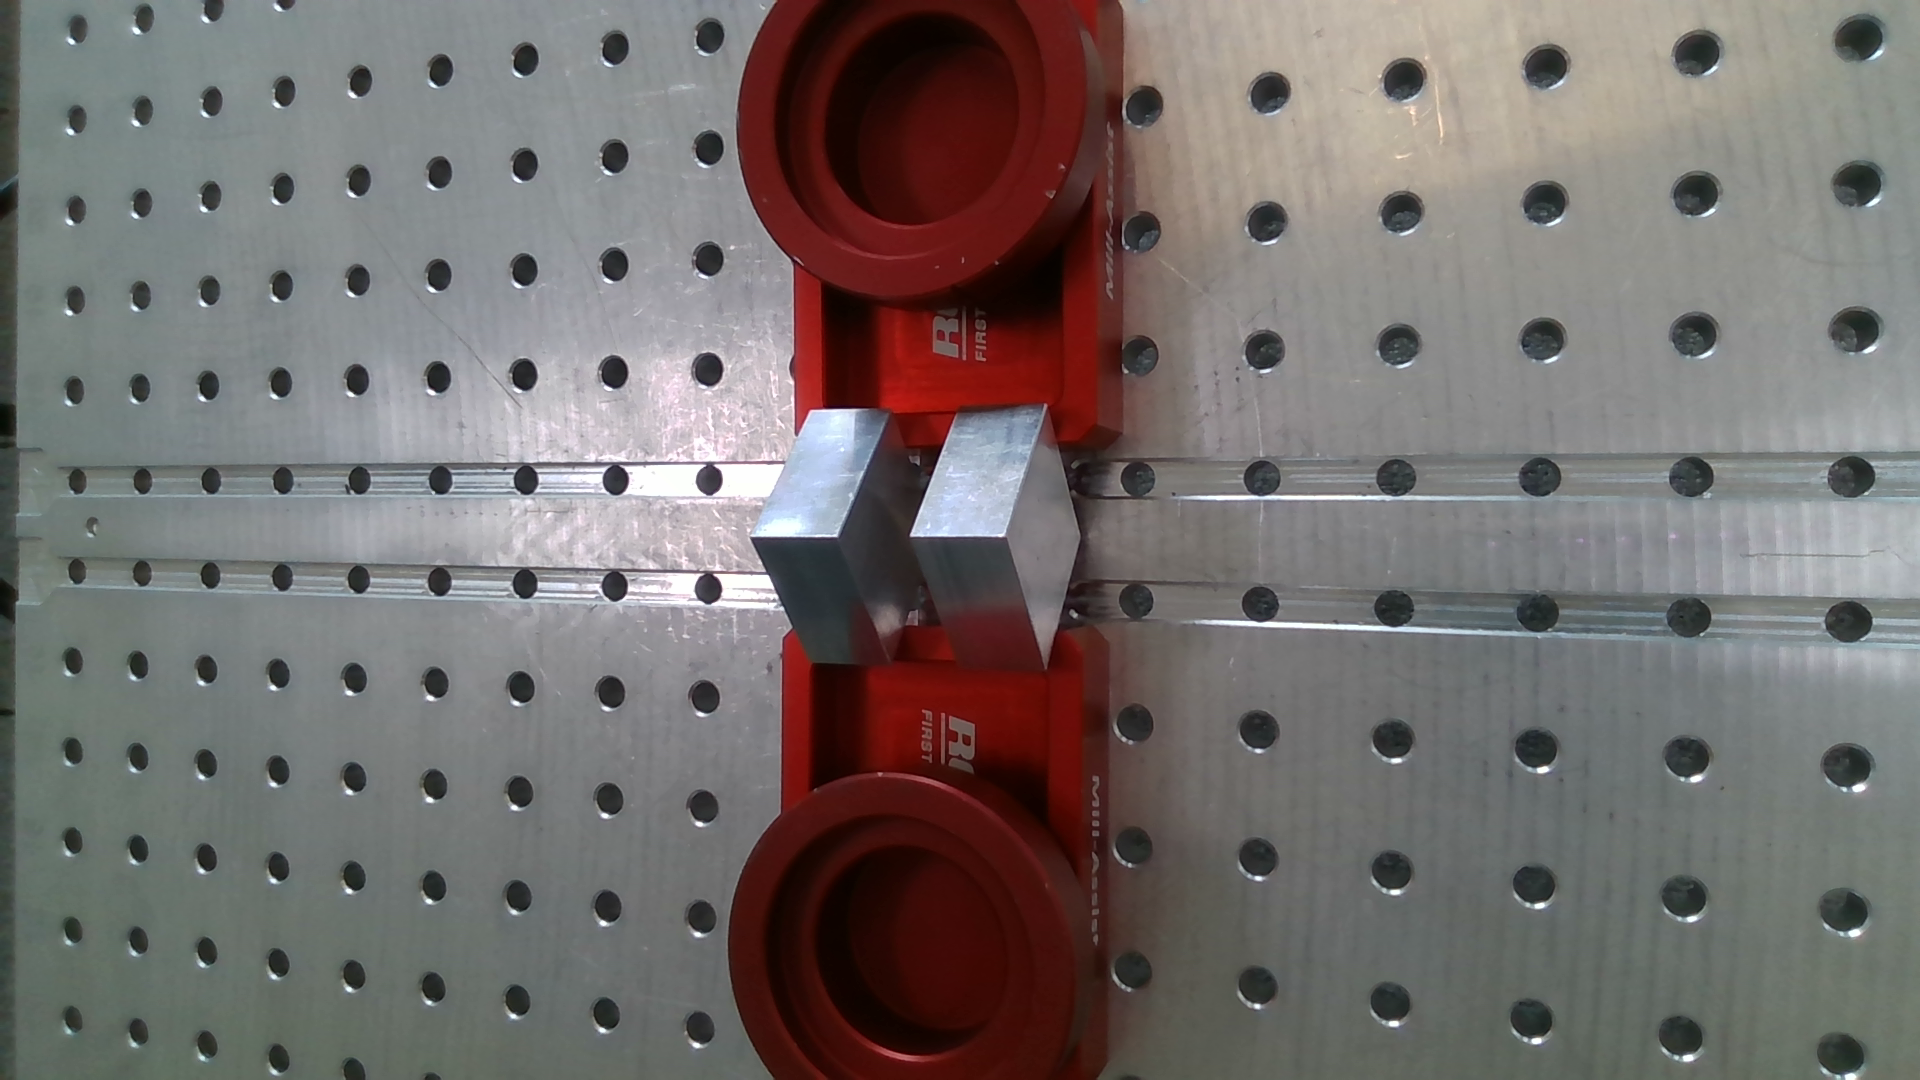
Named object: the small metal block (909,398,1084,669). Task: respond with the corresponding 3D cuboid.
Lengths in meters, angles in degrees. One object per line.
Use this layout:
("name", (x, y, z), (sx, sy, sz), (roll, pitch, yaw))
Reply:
("small metal block", (0.011, -0.002, 0.364), (0.025, 0.050, 0.050), (1, 46, 20))

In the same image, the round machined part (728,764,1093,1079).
("round machined part", (-0.011, 0.109, 0.379), (0.098, 0.042, 0.098), (0, 90, 20))

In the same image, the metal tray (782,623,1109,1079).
("metal tray", (-0.005, 0.089, 0.397), (0.090, 0.030, 0.130), (1, 91, 20))

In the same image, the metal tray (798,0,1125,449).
("metal tray", (0.000, -0.091, 0.394), (0.090, 0.030, 0.130), (-1, 90, 22))

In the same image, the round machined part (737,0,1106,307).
("round machined part", (-0.008, -0.112, 0.376), (0.098, 0.042, 0.098), (0, 90, 20))

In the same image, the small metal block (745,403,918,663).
("small metal block", (-0.031, -0.002, 0.379), (0.025, 0.050, 0.050), (1, 46, 20))
